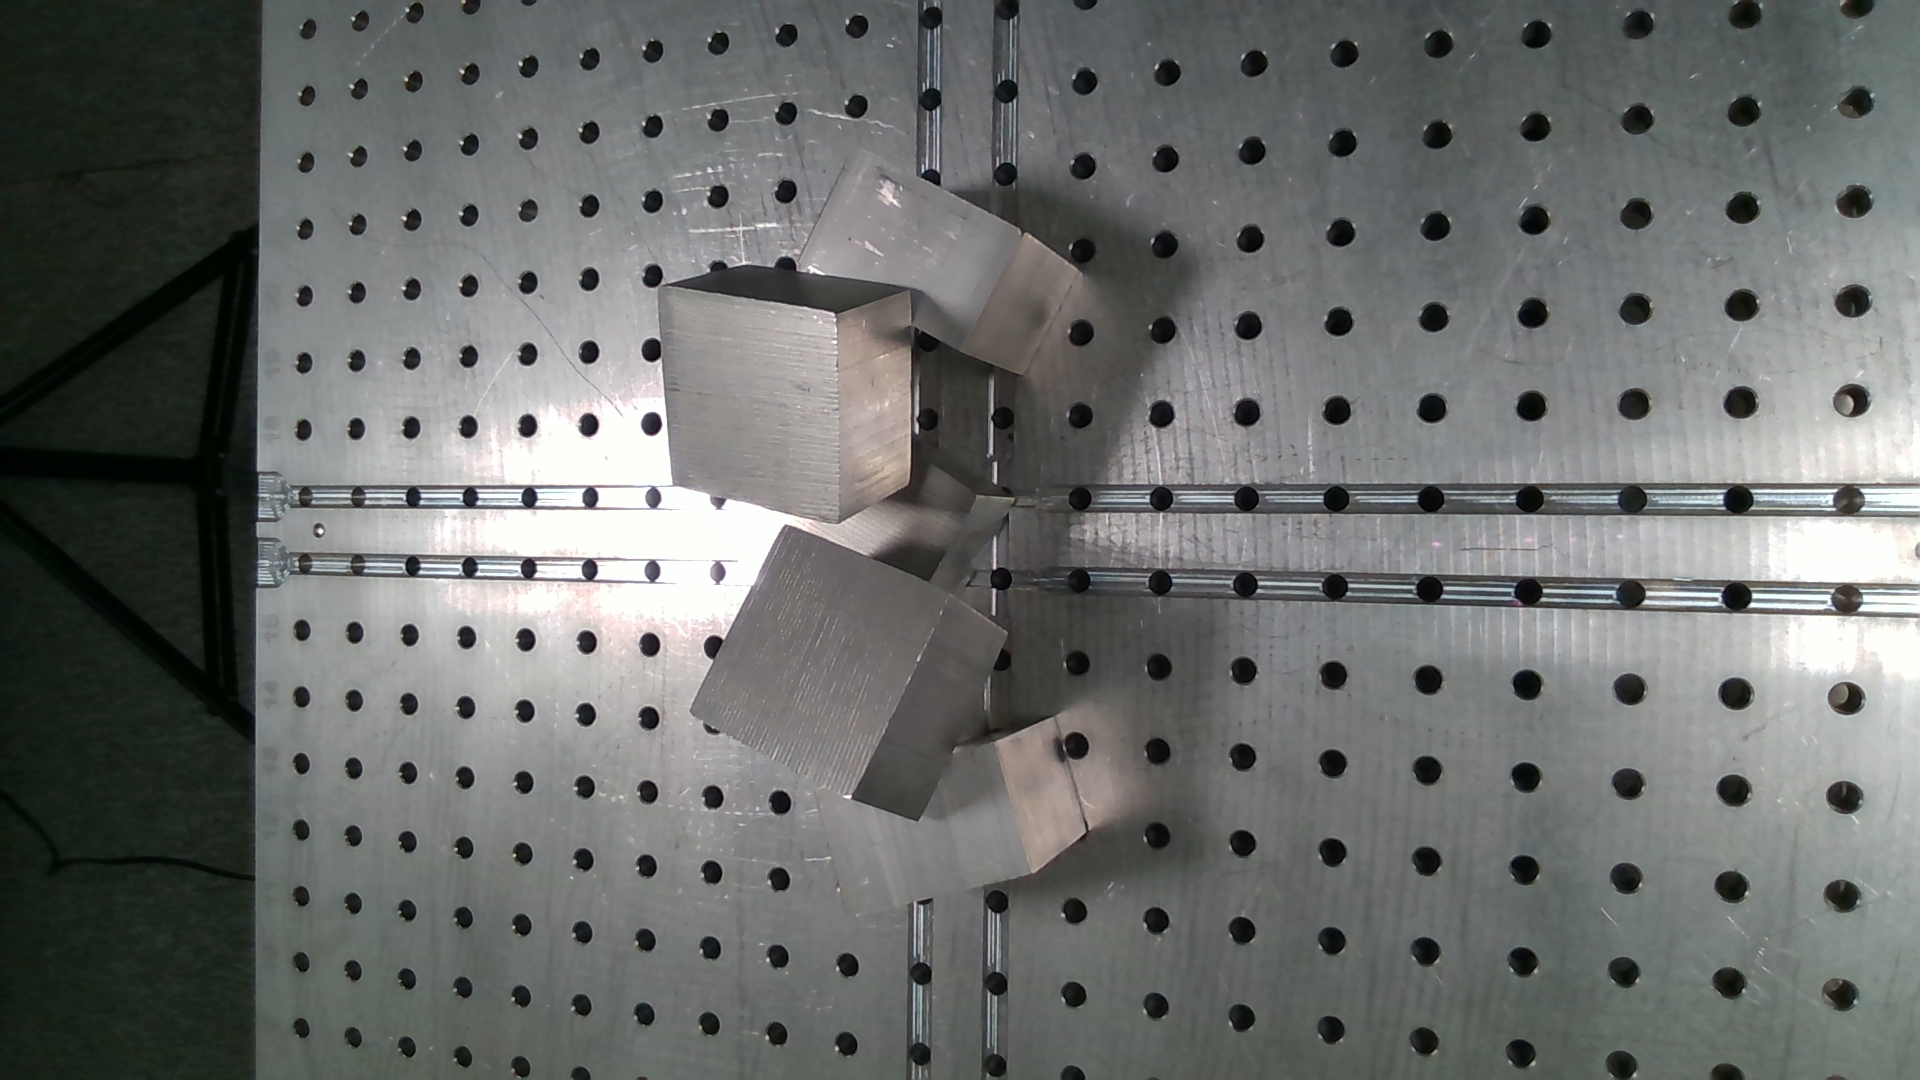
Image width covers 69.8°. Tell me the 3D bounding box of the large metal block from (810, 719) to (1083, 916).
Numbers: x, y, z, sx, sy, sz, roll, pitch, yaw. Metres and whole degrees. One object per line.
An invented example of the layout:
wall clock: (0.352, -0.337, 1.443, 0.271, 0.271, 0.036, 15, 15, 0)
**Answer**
large metal block: (-0.002, 0.111, 0.561, 0.080, 0.080, 0.050, -17, 84, 20)

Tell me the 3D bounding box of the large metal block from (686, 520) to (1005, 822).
large metal block: (-0.042, 0.049, 0.517, 0.080, 0.050, 0.080, 22, 82, 32)

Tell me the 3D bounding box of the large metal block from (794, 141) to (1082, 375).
large metal block: (-0.007, -0.112, 0.560, 0.080, 0.080, 0.050, 31, 101, 17)

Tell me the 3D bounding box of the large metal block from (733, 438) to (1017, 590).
large metal block: (-0.036, -0.005, 0.587, 0.080, 0.050, 0.080, 34, 101, 17)

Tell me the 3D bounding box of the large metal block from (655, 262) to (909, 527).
large metal block: (-0.067, -0.058, 0.529, 0.080, 0.050, 0.080, 13, 116, 26)
